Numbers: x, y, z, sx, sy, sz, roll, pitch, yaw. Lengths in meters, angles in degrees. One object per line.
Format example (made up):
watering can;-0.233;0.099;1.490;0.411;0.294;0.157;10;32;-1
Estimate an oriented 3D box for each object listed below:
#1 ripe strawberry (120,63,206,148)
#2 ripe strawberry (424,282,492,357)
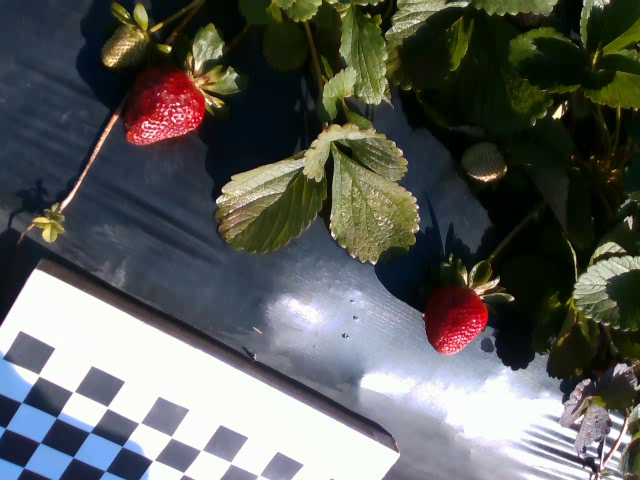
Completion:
ripe strawberry;-0.082;-0.065;0.292;0.041;0.053;0.043;43;-32;-23
ripe strawberry;0.079;0.052;0.349;0.043;0.043;0.050;2;34;39
